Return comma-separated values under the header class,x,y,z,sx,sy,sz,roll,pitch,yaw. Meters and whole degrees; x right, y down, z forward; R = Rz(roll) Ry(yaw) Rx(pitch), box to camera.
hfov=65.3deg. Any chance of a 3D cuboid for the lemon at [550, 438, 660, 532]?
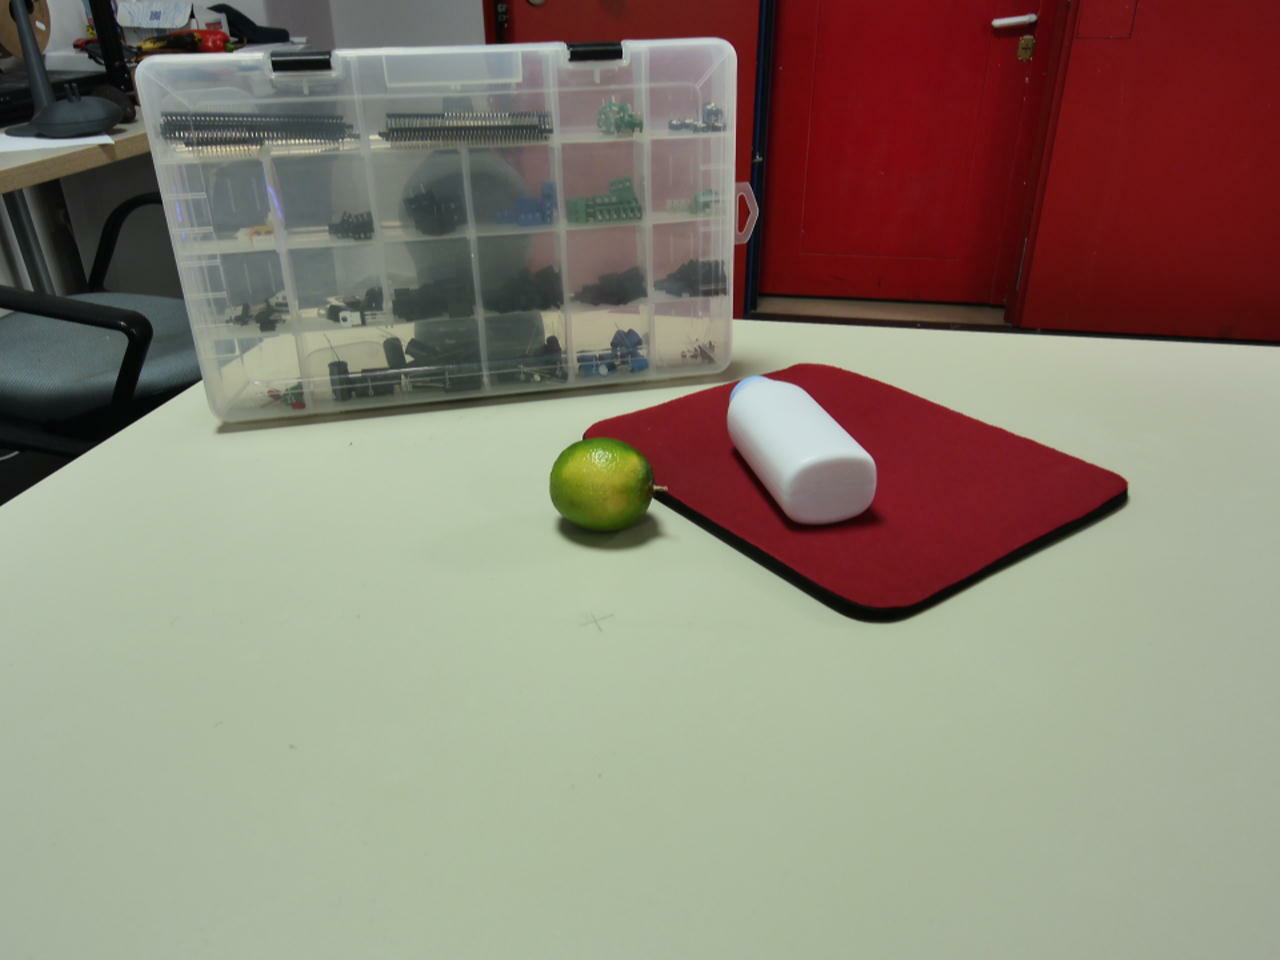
class,x,y,z,sx,sy,sz,roll,pitch,yaw
lemon,-0.021,0.002,0.542,0.054,0.050,0.055,-12,28,-25
